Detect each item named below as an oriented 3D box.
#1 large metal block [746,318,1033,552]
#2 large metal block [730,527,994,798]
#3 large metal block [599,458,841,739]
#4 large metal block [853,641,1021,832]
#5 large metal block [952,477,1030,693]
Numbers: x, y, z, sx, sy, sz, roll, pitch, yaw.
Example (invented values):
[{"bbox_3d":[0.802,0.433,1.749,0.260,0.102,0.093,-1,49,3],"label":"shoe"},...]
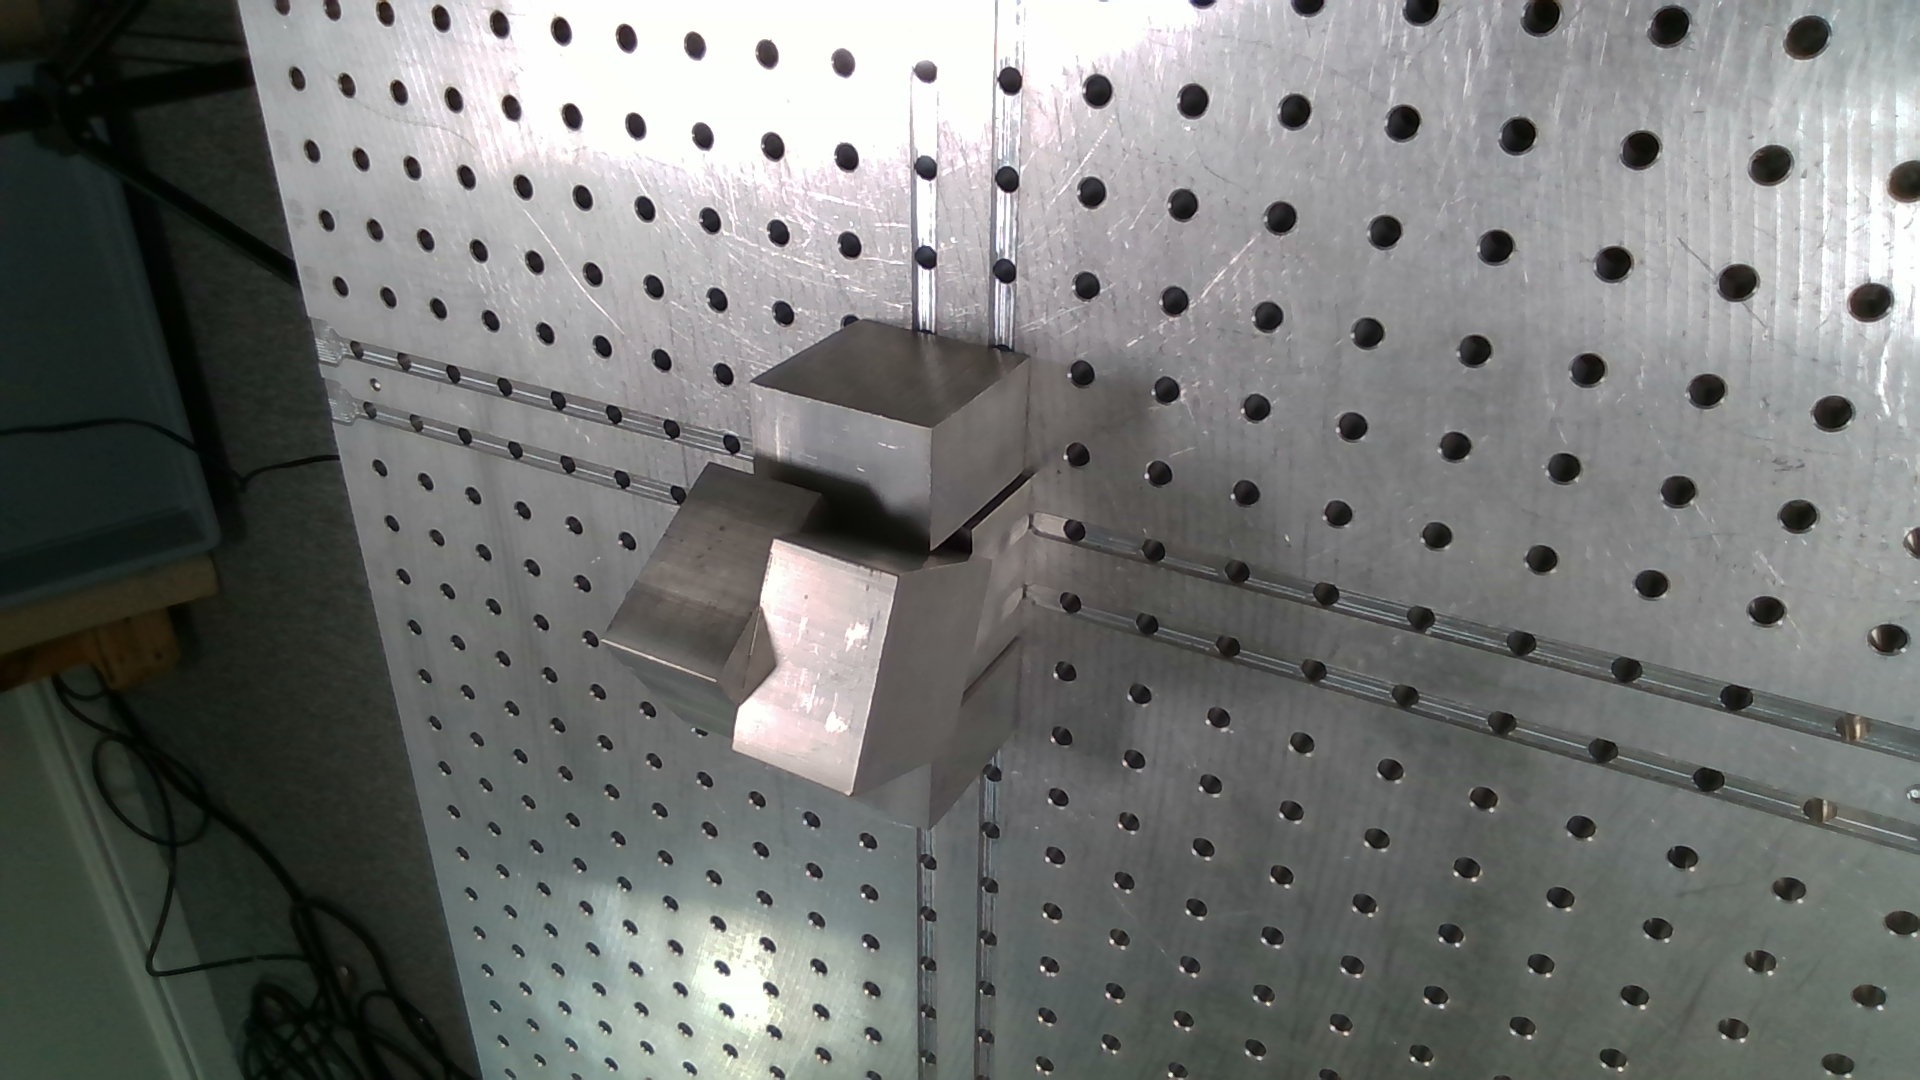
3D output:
[{"bbox_3d":[-0.026,-0.044,0.540,0.080,0.080,0.050,16,122,24],"label":"large metal block"},{"bbox_3d":[-0.034,0.041,0.509,0.050,0.080,0.080,17,100,23],"label":"large metal block"},{"bbox_3d":[-0.080,0.029,0.526,0.050,0.080,0.080,17,156,23],"label":"large metal block"},{"bbox_3d":[-0.028,0.071,0.603,0.080,0.080,0.050,18,123,23],"label":"large metal block"},{"bbox_3d":[-0.020,0.009,0.581,0.080,0.050,0.080,17,123,23],"label":"large metal block"}]
